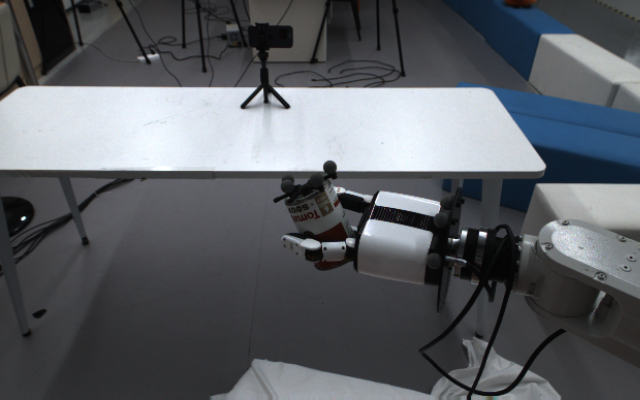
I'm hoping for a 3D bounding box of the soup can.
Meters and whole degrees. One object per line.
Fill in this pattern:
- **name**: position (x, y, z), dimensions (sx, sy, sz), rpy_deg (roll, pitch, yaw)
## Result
- **soup can**: position (0.005, 0.032, 0.637), dimensions (0.067, 0.101, 0.067), rpy_deg (-23, 16, 7)
